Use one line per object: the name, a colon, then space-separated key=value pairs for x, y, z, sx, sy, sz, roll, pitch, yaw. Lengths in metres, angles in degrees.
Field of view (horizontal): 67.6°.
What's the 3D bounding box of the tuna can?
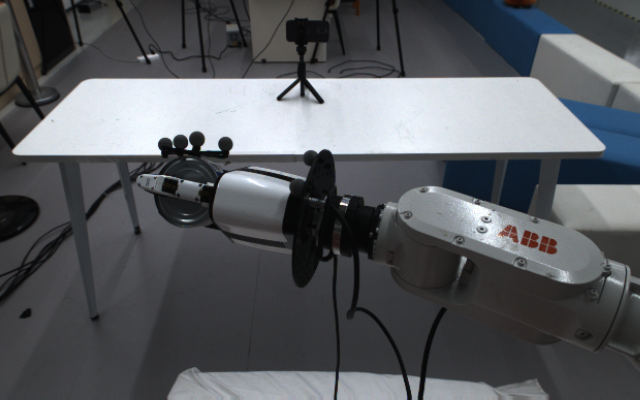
tuna can: x=-0.152 y=-0.008 z=0.585 sx=0.085 sy=0.085 sz=0.034 roll=11 pitch=-1 yaw=13
